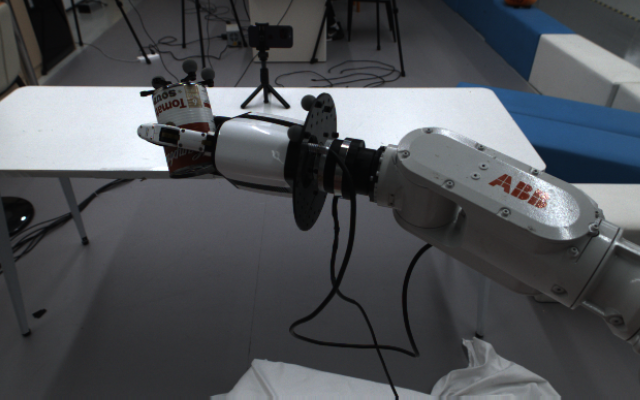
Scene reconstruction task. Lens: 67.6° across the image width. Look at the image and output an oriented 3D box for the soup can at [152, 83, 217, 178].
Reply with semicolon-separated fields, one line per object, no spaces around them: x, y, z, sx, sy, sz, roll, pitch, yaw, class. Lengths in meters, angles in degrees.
-0.160;-0.082;0.591;0.067;0.101;0.067;-14;-2;-1;soup can
